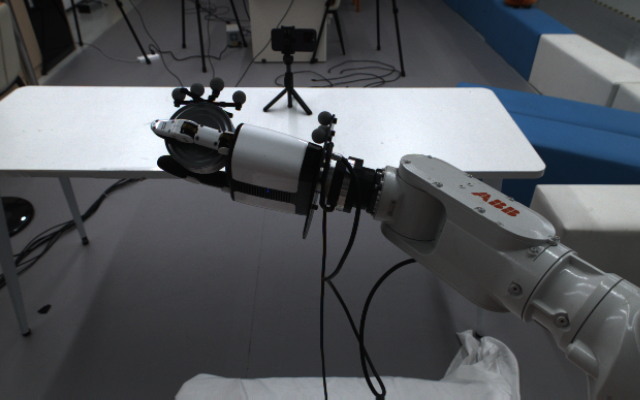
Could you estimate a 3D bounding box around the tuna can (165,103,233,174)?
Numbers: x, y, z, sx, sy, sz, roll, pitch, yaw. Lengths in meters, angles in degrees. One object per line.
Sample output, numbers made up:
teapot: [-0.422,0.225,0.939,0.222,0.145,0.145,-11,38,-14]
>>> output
tuna can: [-0.148,-0.076,0.610,0.085,0.034,0.085,-1,76,3]
